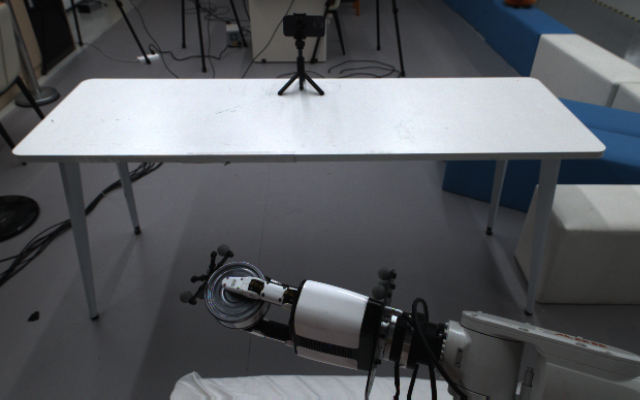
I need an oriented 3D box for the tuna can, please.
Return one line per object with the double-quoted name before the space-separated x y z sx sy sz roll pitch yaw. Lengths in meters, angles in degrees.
"tuna can" -0.105 0.131 0.644 0.085 0.034 0.085 -1 62 1
